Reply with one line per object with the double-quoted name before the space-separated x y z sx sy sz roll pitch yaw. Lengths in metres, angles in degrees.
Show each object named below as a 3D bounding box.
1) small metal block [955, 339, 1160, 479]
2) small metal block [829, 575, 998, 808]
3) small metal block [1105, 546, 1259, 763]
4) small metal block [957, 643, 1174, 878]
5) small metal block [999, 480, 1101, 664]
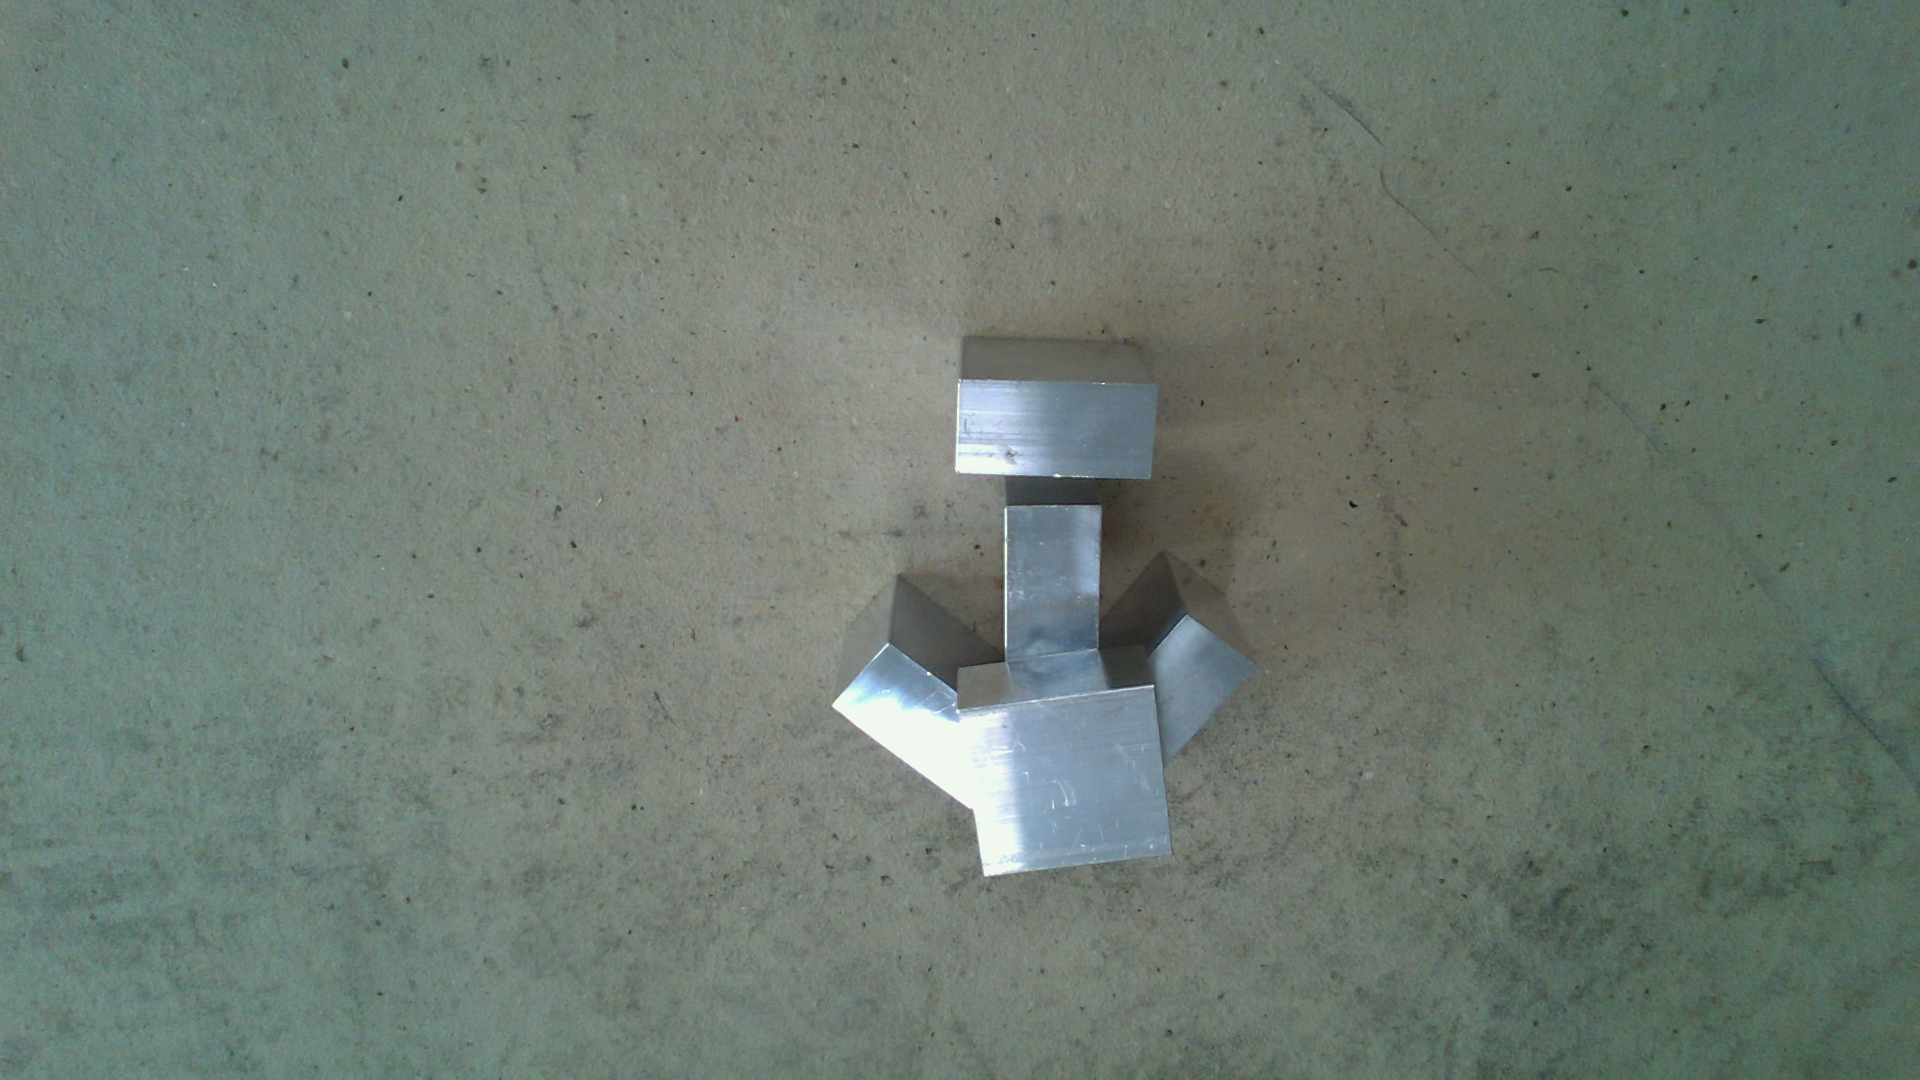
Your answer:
"small metal block" 0.024 -0.036 0.368 0.050 0.050 0.025 2 110 -1
"small metal block" -0.009 0.043 0.396 0.050 0.050 0.025 38 105 -14
"small metal block" 0.055 0.036 0.395 0.025 0.050 0.050 35 107 -12
"small metal block" 0.028 0.058 0.363 0.050 0.025 0.050 -7 110 3
"small metal block" 0.024 0.006 0.384 0.025 0.050 0.050 -1 110 0
